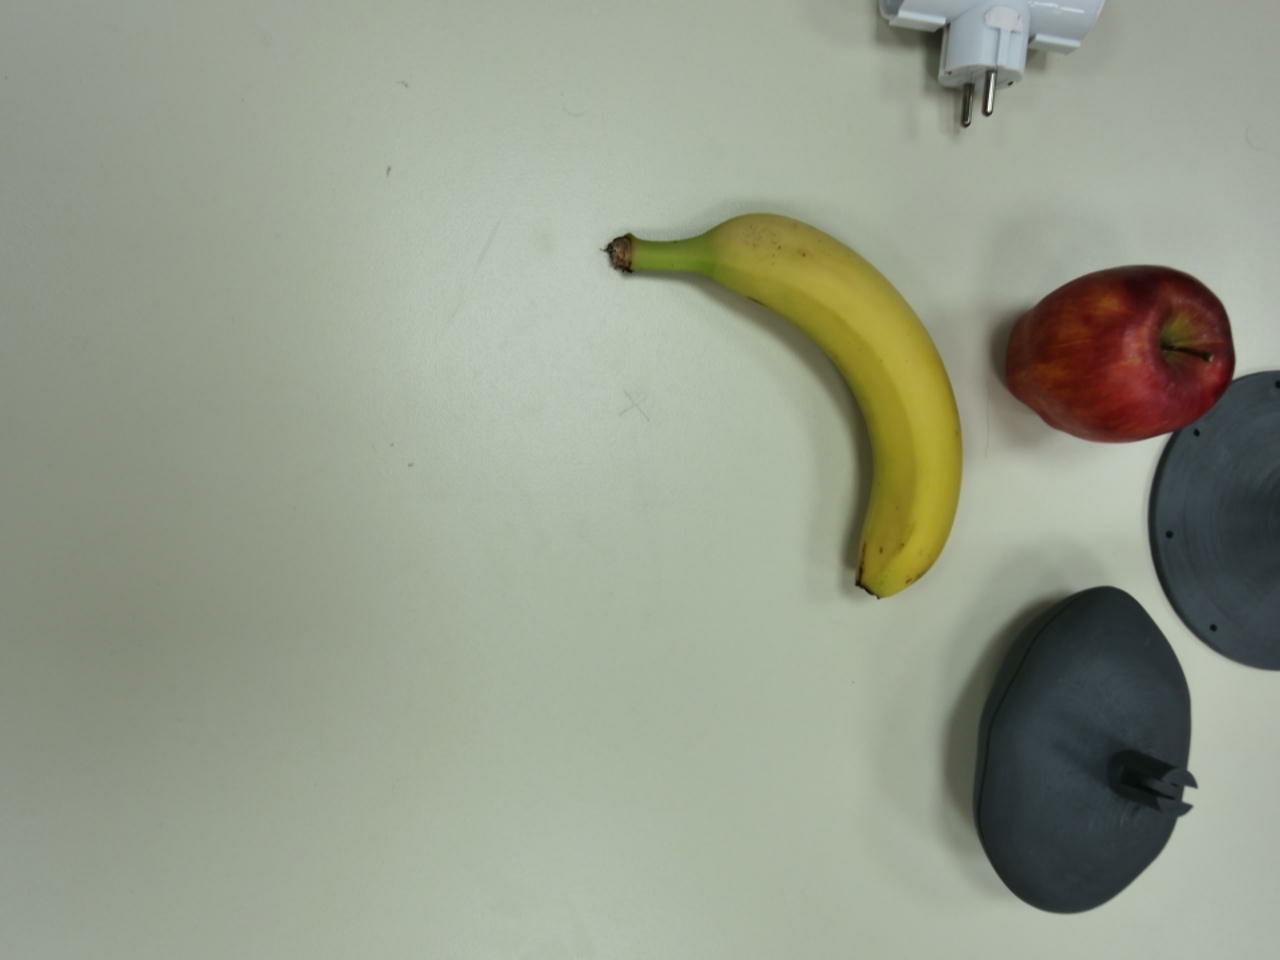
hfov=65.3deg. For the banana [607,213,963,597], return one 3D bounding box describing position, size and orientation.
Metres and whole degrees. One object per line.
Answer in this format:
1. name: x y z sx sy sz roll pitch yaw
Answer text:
1. banana: 0.081 -0.050 0.437 0.094 0.041 0.196 -37 97 -9
